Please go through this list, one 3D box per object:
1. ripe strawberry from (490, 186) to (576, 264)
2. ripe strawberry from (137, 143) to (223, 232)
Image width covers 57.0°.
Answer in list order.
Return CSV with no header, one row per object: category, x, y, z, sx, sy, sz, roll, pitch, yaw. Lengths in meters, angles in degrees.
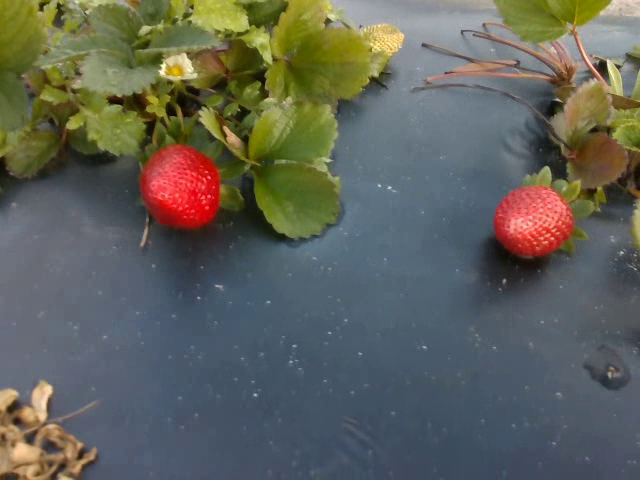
ripe strawberry,0.089,-0.005,0.254,0.041,0.045,0.052,-32,-9,41
ripe strawberry,-0.067,-0.022,0.258,0.050,0.046,0.050,41,10,5
